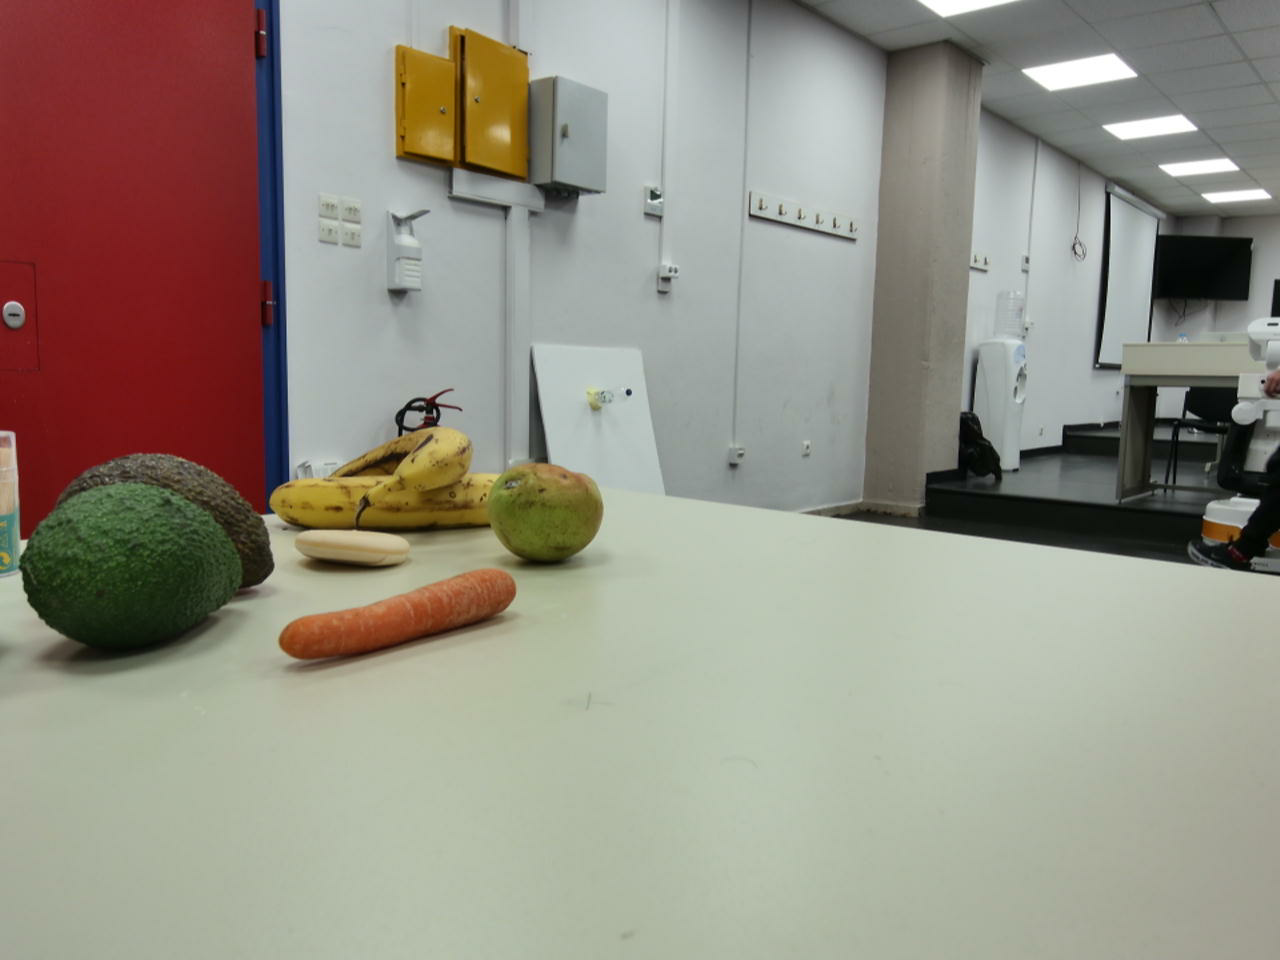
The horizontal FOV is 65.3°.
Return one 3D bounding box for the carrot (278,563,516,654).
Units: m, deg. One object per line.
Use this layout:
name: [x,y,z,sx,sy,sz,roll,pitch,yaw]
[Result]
carrot: [-0.100,0.054,0.430,0.024,0.023,0.122,3,6,37]
